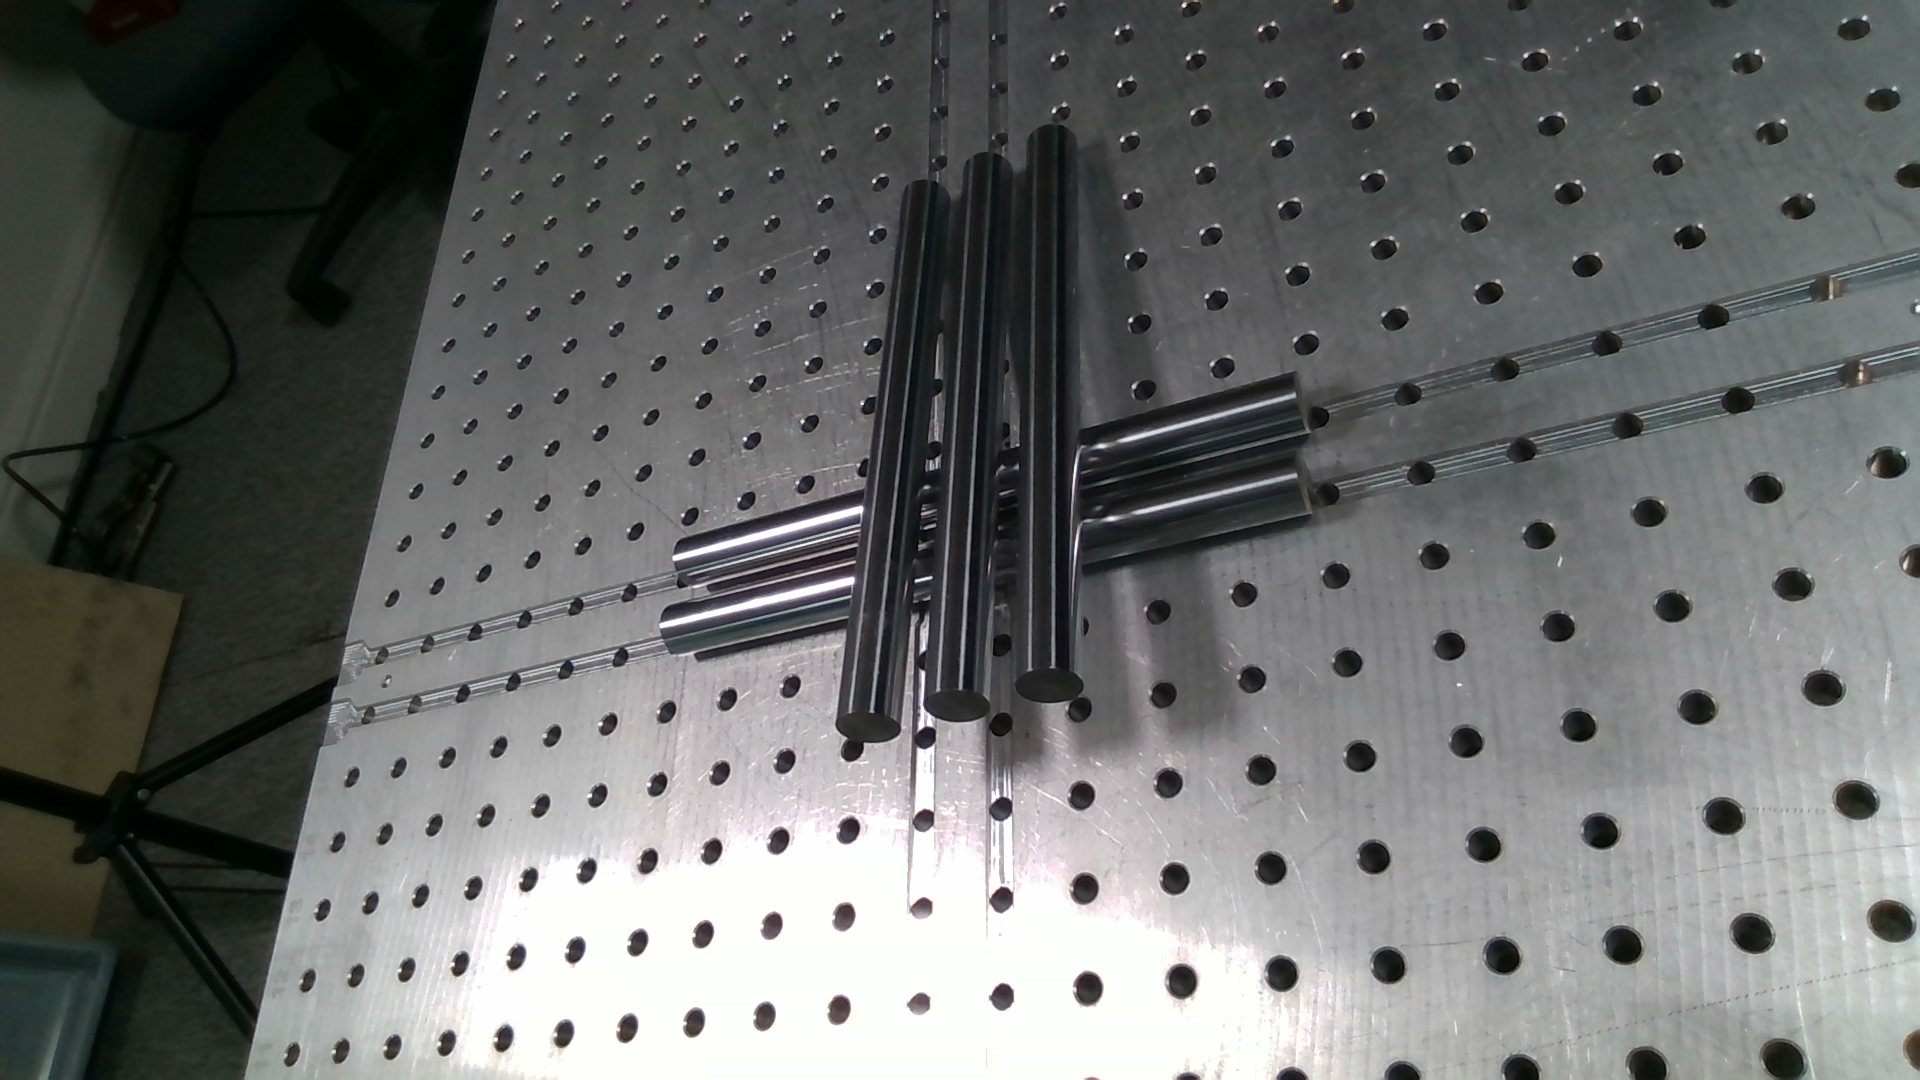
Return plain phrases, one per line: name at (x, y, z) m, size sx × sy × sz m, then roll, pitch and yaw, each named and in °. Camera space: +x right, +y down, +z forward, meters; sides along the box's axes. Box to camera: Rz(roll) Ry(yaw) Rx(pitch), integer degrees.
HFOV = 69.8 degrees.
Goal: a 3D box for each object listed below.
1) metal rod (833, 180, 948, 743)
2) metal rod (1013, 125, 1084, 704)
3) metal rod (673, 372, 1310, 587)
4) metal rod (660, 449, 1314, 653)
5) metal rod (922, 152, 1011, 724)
metal rod at (-0.026, -0.050, 0.604) m, size 0.025 × 0.025 × 0.299 m, roll -15°, pitch 50°, yaw 25°
metal rod at (0.038, -0.069, 0.575) m, size 0.025 × 0.025 × 0.299 m, roll -16°, pitch 50°, yaw 24°
metal rod at (0.001, -0.021, 0.599) m, size 0.300 × 0.025 × 0.025 m, roll -14°, pitch 59°, yaw 25°
metal rod at (-0.002, 0.010, 0.585) m, size 0.300 × 0.025 × 0.025 m, roll -14°, pitch 59°, yaw 25°
metal rod at (0.006, -0.060, 0.590) m, size 0.025 × 0.025 × 0.299 m, roll -16°, pitch 50°, yaw 24°
